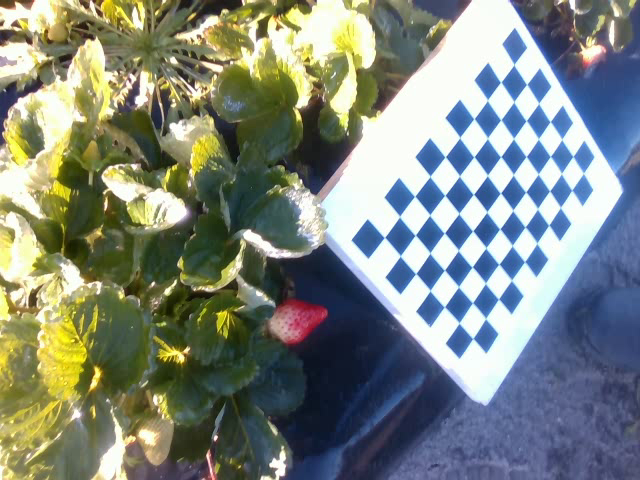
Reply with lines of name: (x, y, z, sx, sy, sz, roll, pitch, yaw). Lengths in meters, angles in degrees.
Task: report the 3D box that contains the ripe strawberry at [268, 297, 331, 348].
ripe strawberry: (-0.015, 0.076, 0.563, 0.065, 0.040, 0.040, -9, 5, -28)
